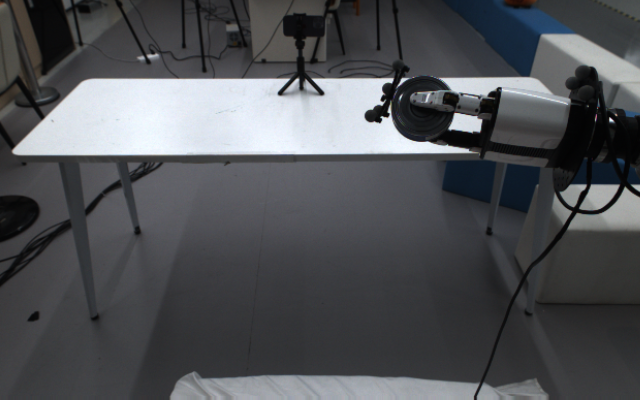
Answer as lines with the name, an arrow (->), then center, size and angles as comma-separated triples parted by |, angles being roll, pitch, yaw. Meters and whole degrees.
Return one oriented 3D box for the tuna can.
tuna can -> 0.142, -0.127, 0.662 | 0.085, 0.085, 0.034 | 8, -5, 9
